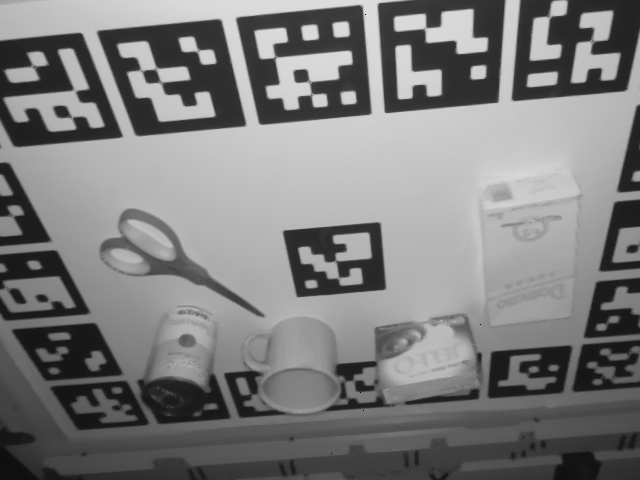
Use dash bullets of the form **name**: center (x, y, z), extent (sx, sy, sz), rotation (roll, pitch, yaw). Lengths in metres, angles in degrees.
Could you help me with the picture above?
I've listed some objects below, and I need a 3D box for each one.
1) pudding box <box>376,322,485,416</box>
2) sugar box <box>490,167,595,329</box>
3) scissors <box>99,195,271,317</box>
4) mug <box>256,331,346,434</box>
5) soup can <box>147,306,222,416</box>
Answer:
- **pudding box**: center (0.121, 0.143, 0.772), extent (0.113, 0.091, 0.038), rotation (-12, 119, 9)
- **sugar box**: center (0.227, 0.015, 0.714), extent (0.093, 0.045, 0.175), rotation (-9, 125, 4)
- **scissors**: center (-0.134, 0.033, 0.735), extent (0.204, 0.016, 0.087), rotation (36, 109, -23)
- **mug**: center (-0.027, 0.152, 0.785), extent (0.092, 0.082, 0.118), rotation (-37, 120, 22)
- **soup can**: center (-0.147, 0.131, 0.765), extent (0.068, 0.103, 0.067), rotation (-1, 128, 0)
